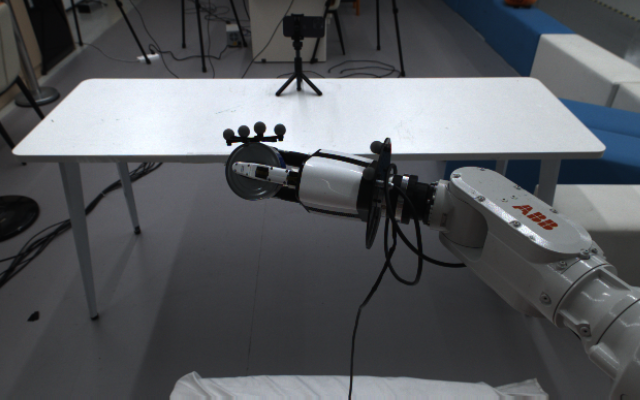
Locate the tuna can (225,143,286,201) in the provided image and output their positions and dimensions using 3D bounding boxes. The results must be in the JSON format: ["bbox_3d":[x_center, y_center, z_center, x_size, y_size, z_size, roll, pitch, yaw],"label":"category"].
[{"bbox_3d":[-0.090,-0.041,0.718,0.085,0.085,0.034,10,2,11],"label":"tuna can"}]
